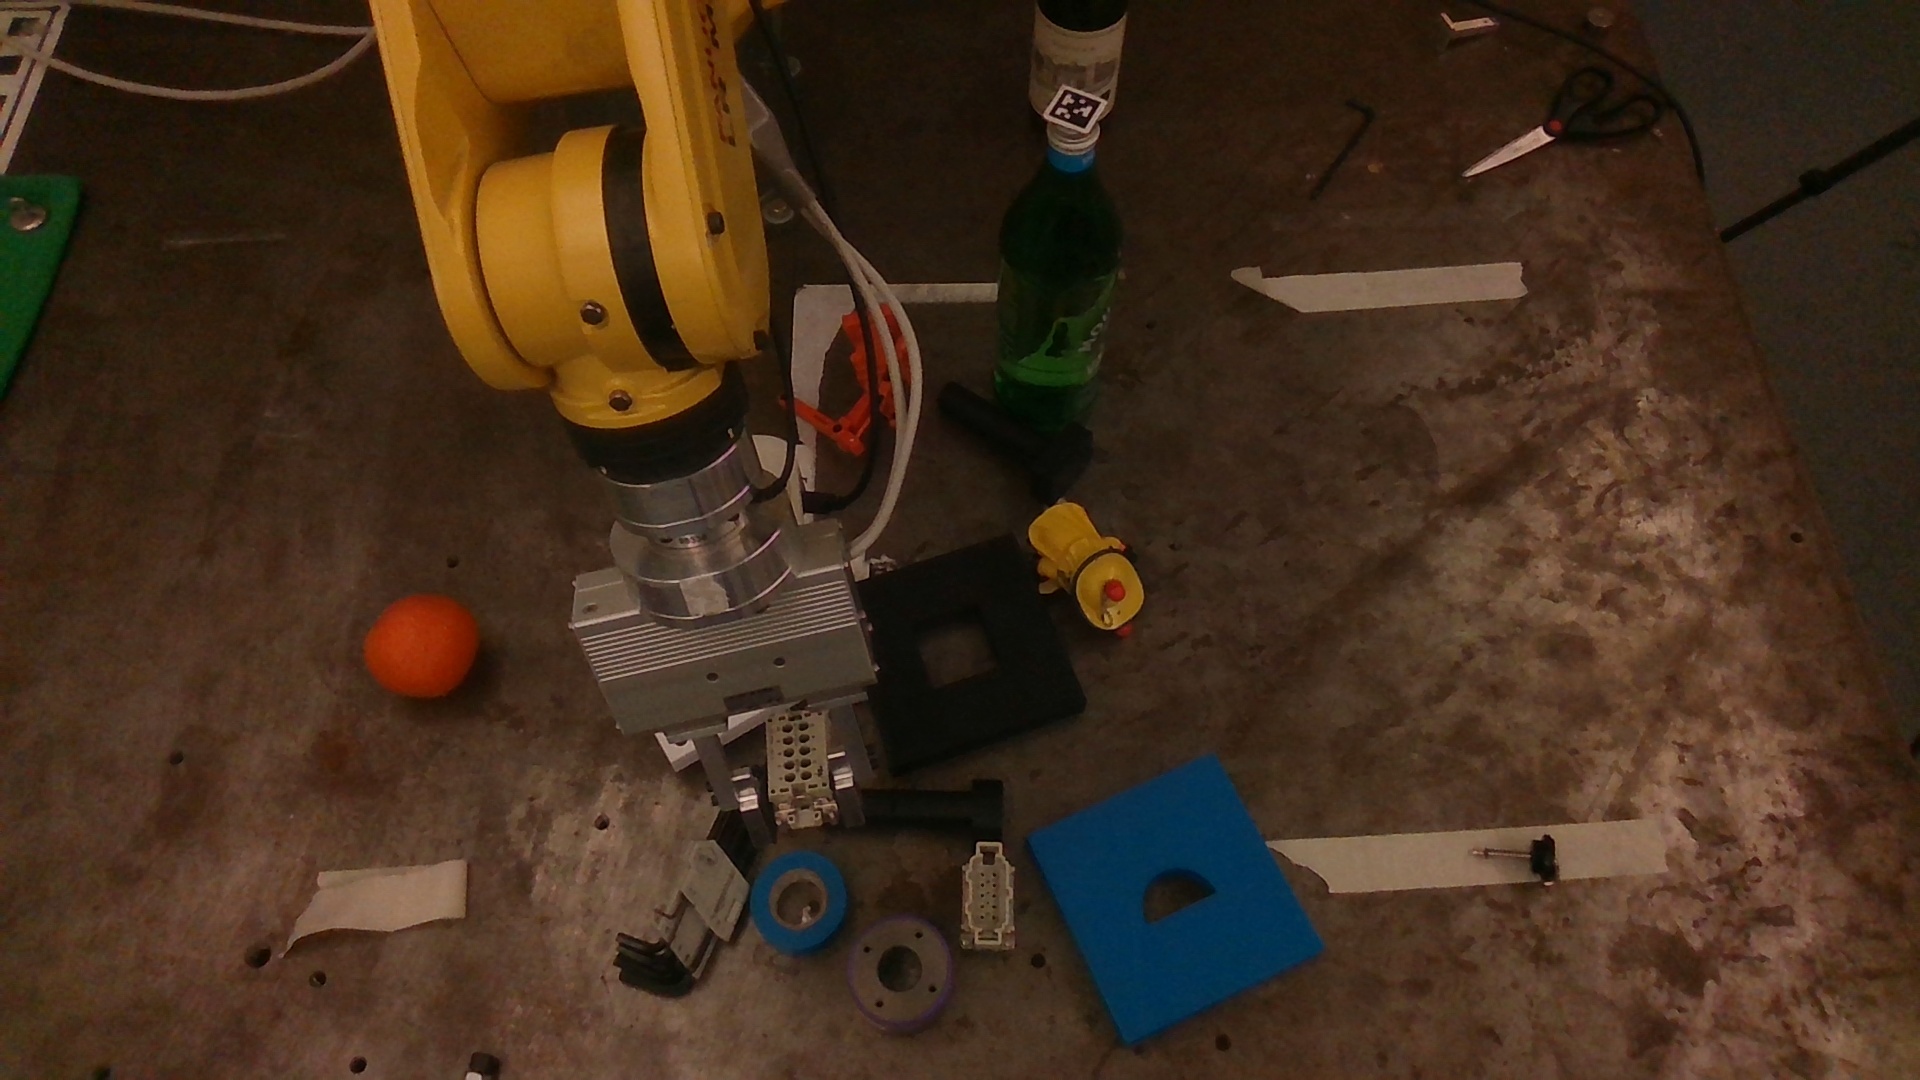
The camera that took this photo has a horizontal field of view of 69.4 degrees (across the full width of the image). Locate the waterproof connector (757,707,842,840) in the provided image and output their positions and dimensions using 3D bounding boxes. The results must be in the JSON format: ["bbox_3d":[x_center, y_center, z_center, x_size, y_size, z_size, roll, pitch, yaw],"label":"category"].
[{"bbox_3d":[-0.082,0.118,0.706,0.037,0.038,0.069,-11,56,-1],"label":"waterproof connector"}]
